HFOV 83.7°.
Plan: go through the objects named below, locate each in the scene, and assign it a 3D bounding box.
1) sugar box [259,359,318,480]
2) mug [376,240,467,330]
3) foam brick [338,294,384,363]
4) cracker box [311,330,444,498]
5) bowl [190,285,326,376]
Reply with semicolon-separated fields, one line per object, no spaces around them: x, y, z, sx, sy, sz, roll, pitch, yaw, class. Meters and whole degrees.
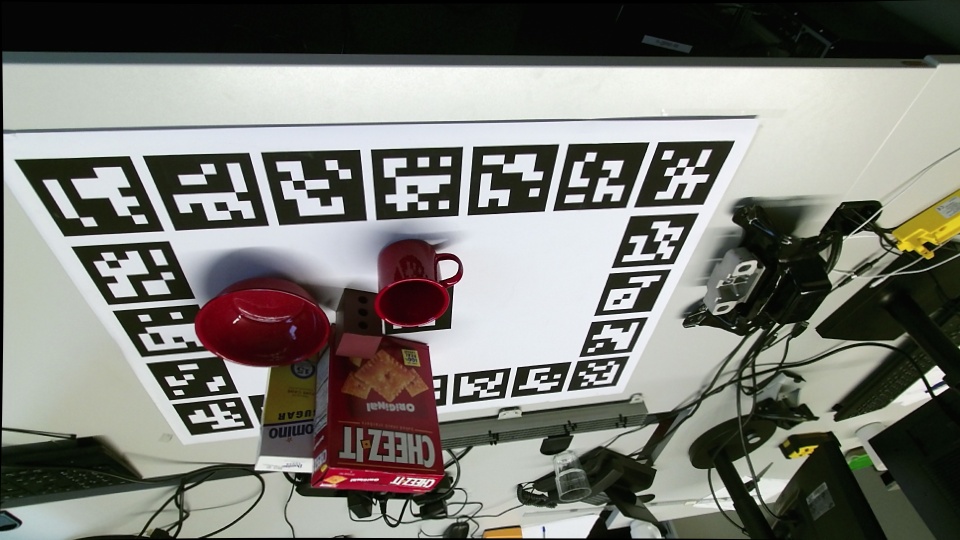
-0.257;0.206;0.761;0.093;0.175;0.045;12;130;-26;sugar box
-0.075;0.015;0.679;0.117;0.081;0.093;-12;144;-6;mug
-0.164;0.080;0.736;0.053;0.077;0.051;7;133;-22;foam brick
-0.143;0.200;0.760;0.165;0.212;0.072;20;129;-30;cracker box
-0.282;0.069;0.689;0.162;0.055;0.162;-8;135;-8;bowl
